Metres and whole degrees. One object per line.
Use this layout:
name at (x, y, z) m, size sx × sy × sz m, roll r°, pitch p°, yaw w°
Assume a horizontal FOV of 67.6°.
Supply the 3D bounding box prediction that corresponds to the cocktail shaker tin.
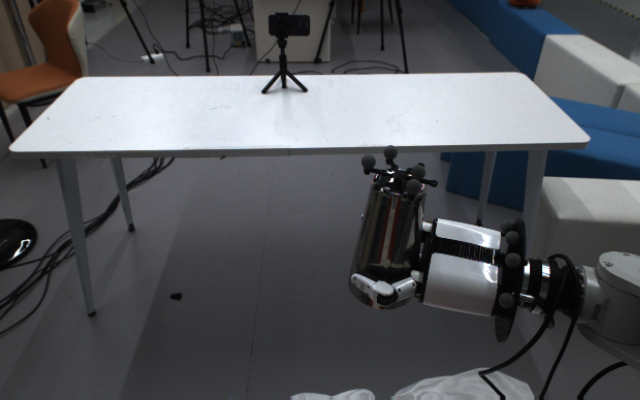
cocktail shaker tin at (0.090, 0.047, 0.628) m, size 0.093 × 0.170 × 0.093 m, roll 3°, pitch 34°, yaw -2°
